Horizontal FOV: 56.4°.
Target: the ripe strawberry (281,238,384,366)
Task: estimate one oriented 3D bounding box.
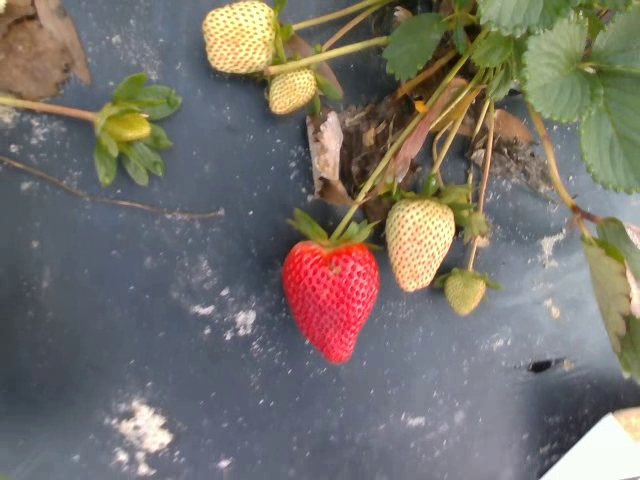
[{"bbox_3d":[0.005,0.025,0.249,0.050,0.059,0.034,-6,-4,-13],"label":"ripe strawberry"}]
